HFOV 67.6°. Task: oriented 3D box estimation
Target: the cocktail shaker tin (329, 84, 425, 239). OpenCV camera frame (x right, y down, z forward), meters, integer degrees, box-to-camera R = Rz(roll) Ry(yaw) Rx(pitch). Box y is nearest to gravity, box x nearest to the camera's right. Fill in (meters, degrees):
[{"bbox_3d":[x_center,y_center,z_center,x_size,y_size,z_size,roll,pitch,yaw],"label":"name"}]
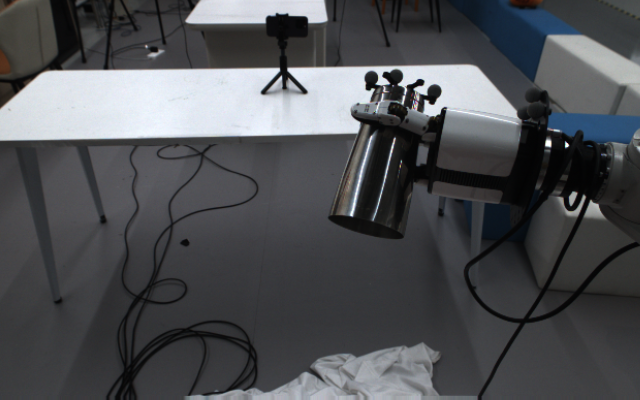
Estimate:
[{"bbox_3d":[0.078,-0.050,0.583,0.093,0.093,0.170,13,77,15],"label":"cocktail shaker tin"}]
